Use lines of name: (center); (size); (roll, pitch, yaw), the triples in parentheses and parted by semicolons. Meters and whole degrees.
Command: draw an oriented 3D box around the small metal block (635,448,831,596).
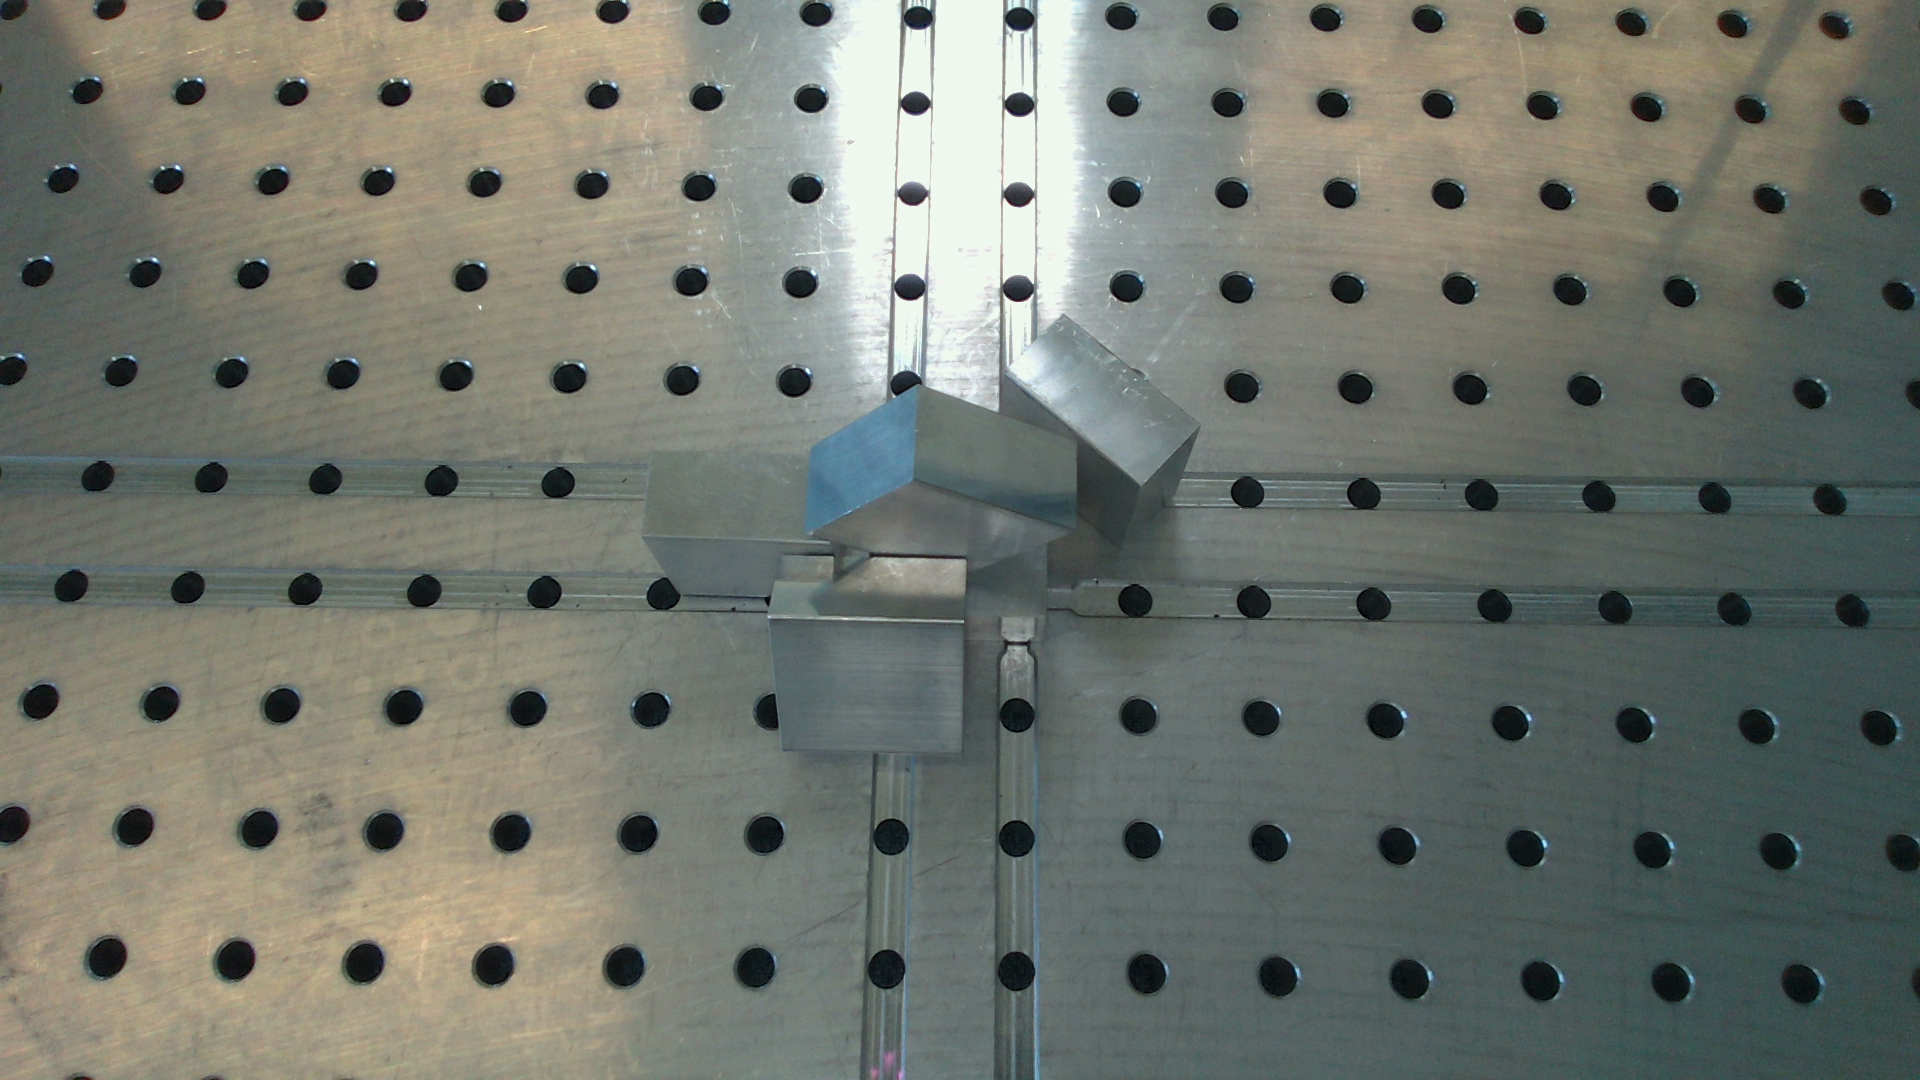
small metal block: (-0.059, -0.004, 0.384); (0.050, 0.050, 0.025); (1, 70, 1)

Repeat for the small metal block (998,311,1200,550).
small metal block: (0.038, -0.030, 0.395); (0.050, 0.050, 0.025); (41, 74, 13)

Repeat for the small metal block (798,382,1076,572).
small metal block: (-0.006, -0.013, 0.351); (0.050, 0.050, 0.025); (17, 66, -34)

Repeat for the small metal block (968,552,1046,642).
small metal block: (-0.001, 0.001, 0.396); (0.050, 0.025, 0.050); (2, 70, 0)

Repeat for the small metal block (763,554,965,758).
small metal block: (-0.024, 0.032, 0.369); (0.050, 0.050, 0.025); (1, 38, 1)
